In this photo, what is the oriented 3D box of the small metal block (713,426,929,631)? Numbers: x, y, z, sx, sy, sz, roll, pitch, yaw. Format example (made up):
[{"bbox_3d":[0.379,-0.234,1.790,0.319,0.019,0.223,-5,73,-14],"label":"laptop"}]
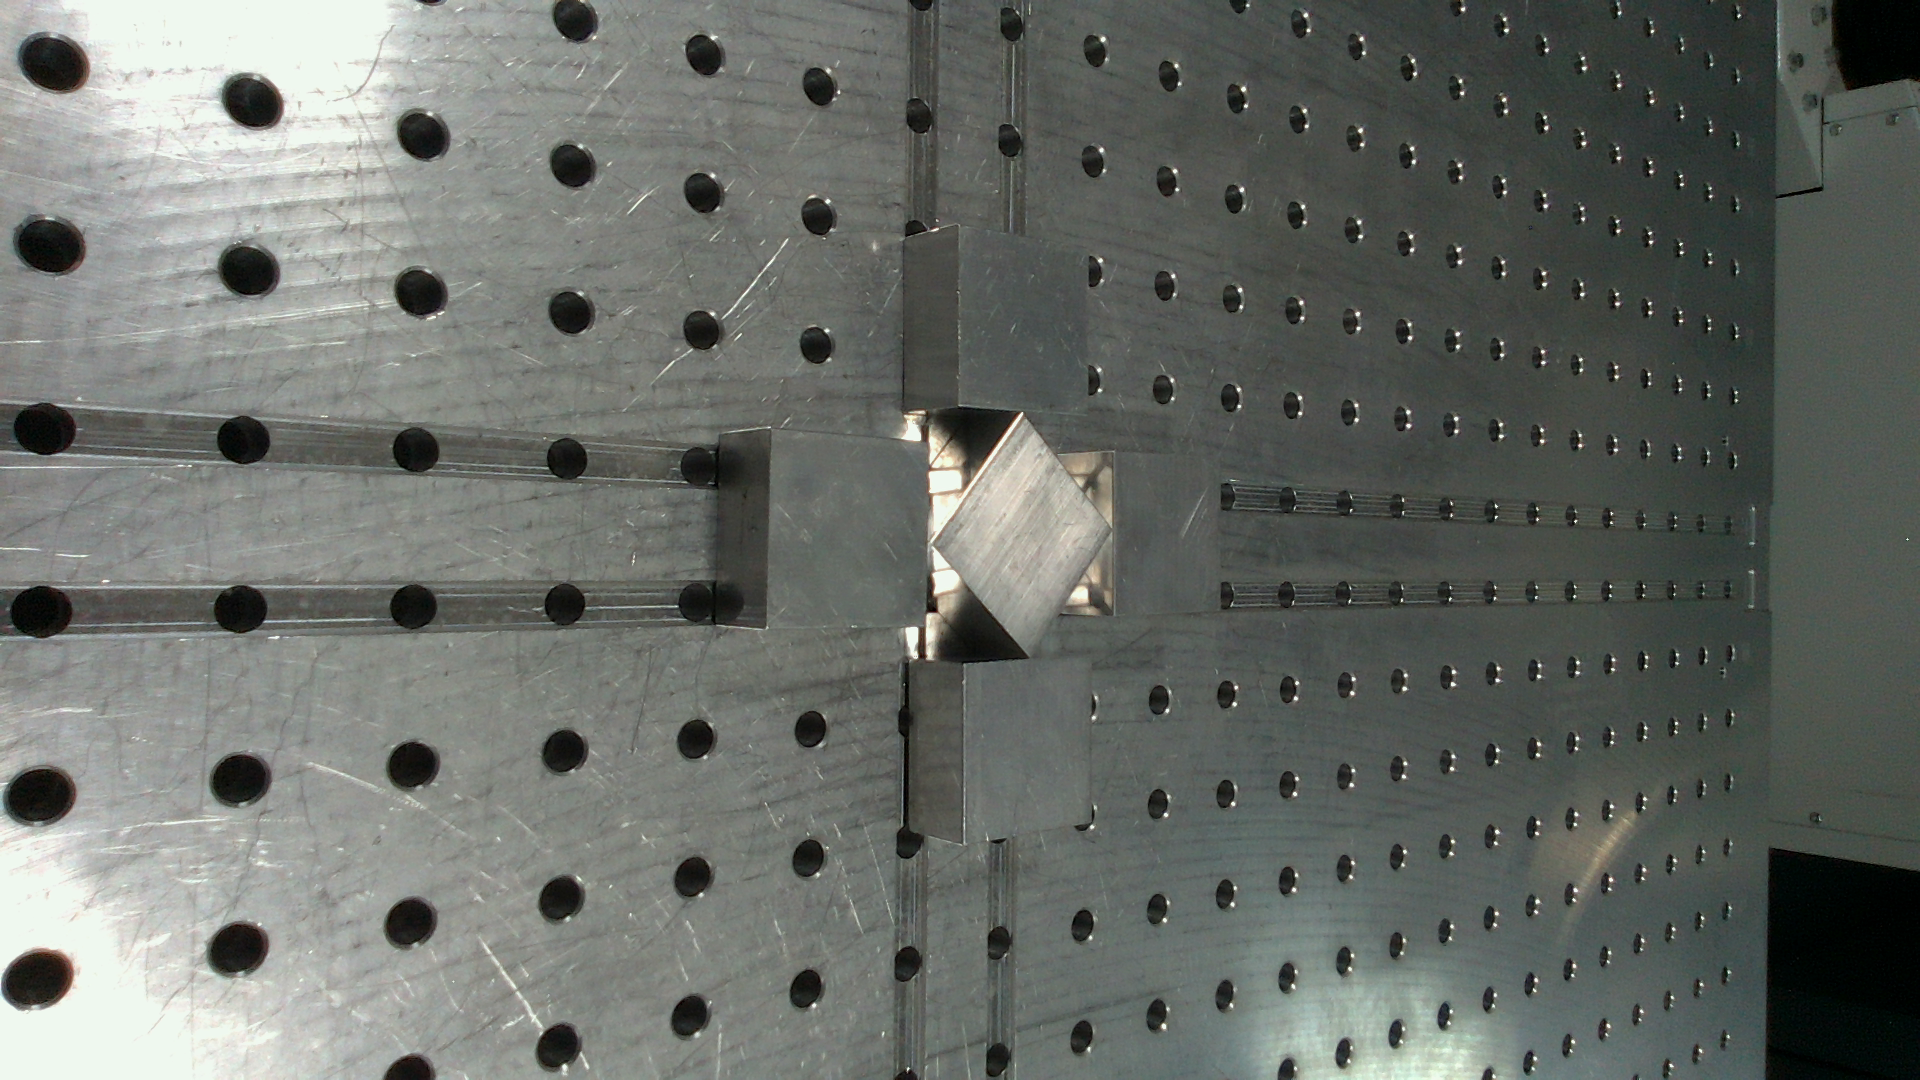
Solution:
[{"bbox_3d":[-0.036,-0.002,0.362,0.050,0.025,0.050,2,89,-40],"label":"small metal block"}]

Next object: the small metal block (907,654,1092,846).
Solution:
[{"bbox_3d":[0.012,0.059,0.402,0.050,0.025,0.050,0,90,-40],"label":"small metal block"}]

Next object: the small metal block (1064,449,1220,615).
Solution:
[{"bbox_3d":[0.057,-0.003,0.439,0.050,0.025,0.050,0,90,-40],"label":"small metal block"}]

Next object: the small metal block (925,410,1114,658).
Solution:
[{"bbox_3d":[0.011,-0.002,0.401,0.050,0.025,0.050,50,61,-28],"label":"small metal block"}]

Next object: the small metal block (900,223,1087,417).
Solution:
[{"bbox_3d":[0.010,-0.062,0.400,0.050,0.025,0.050,-1,91,-40],"label":"small metal block"}]
